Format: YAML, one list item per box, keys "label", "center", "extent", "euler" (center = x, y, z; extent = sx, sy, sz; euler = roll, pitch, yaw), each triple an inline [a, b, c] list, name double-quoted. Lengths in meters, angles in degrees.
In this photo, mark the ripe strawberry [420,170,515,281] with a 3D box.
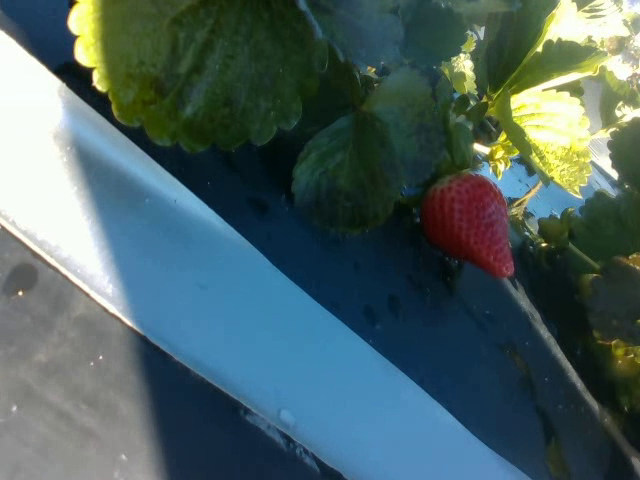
- label: "ripe strawberry"
  center: [0.067, -0.005, 0.257]
  extent: [0.045, 0.059, 0.042]
  euler: [-14, -24, -11]
